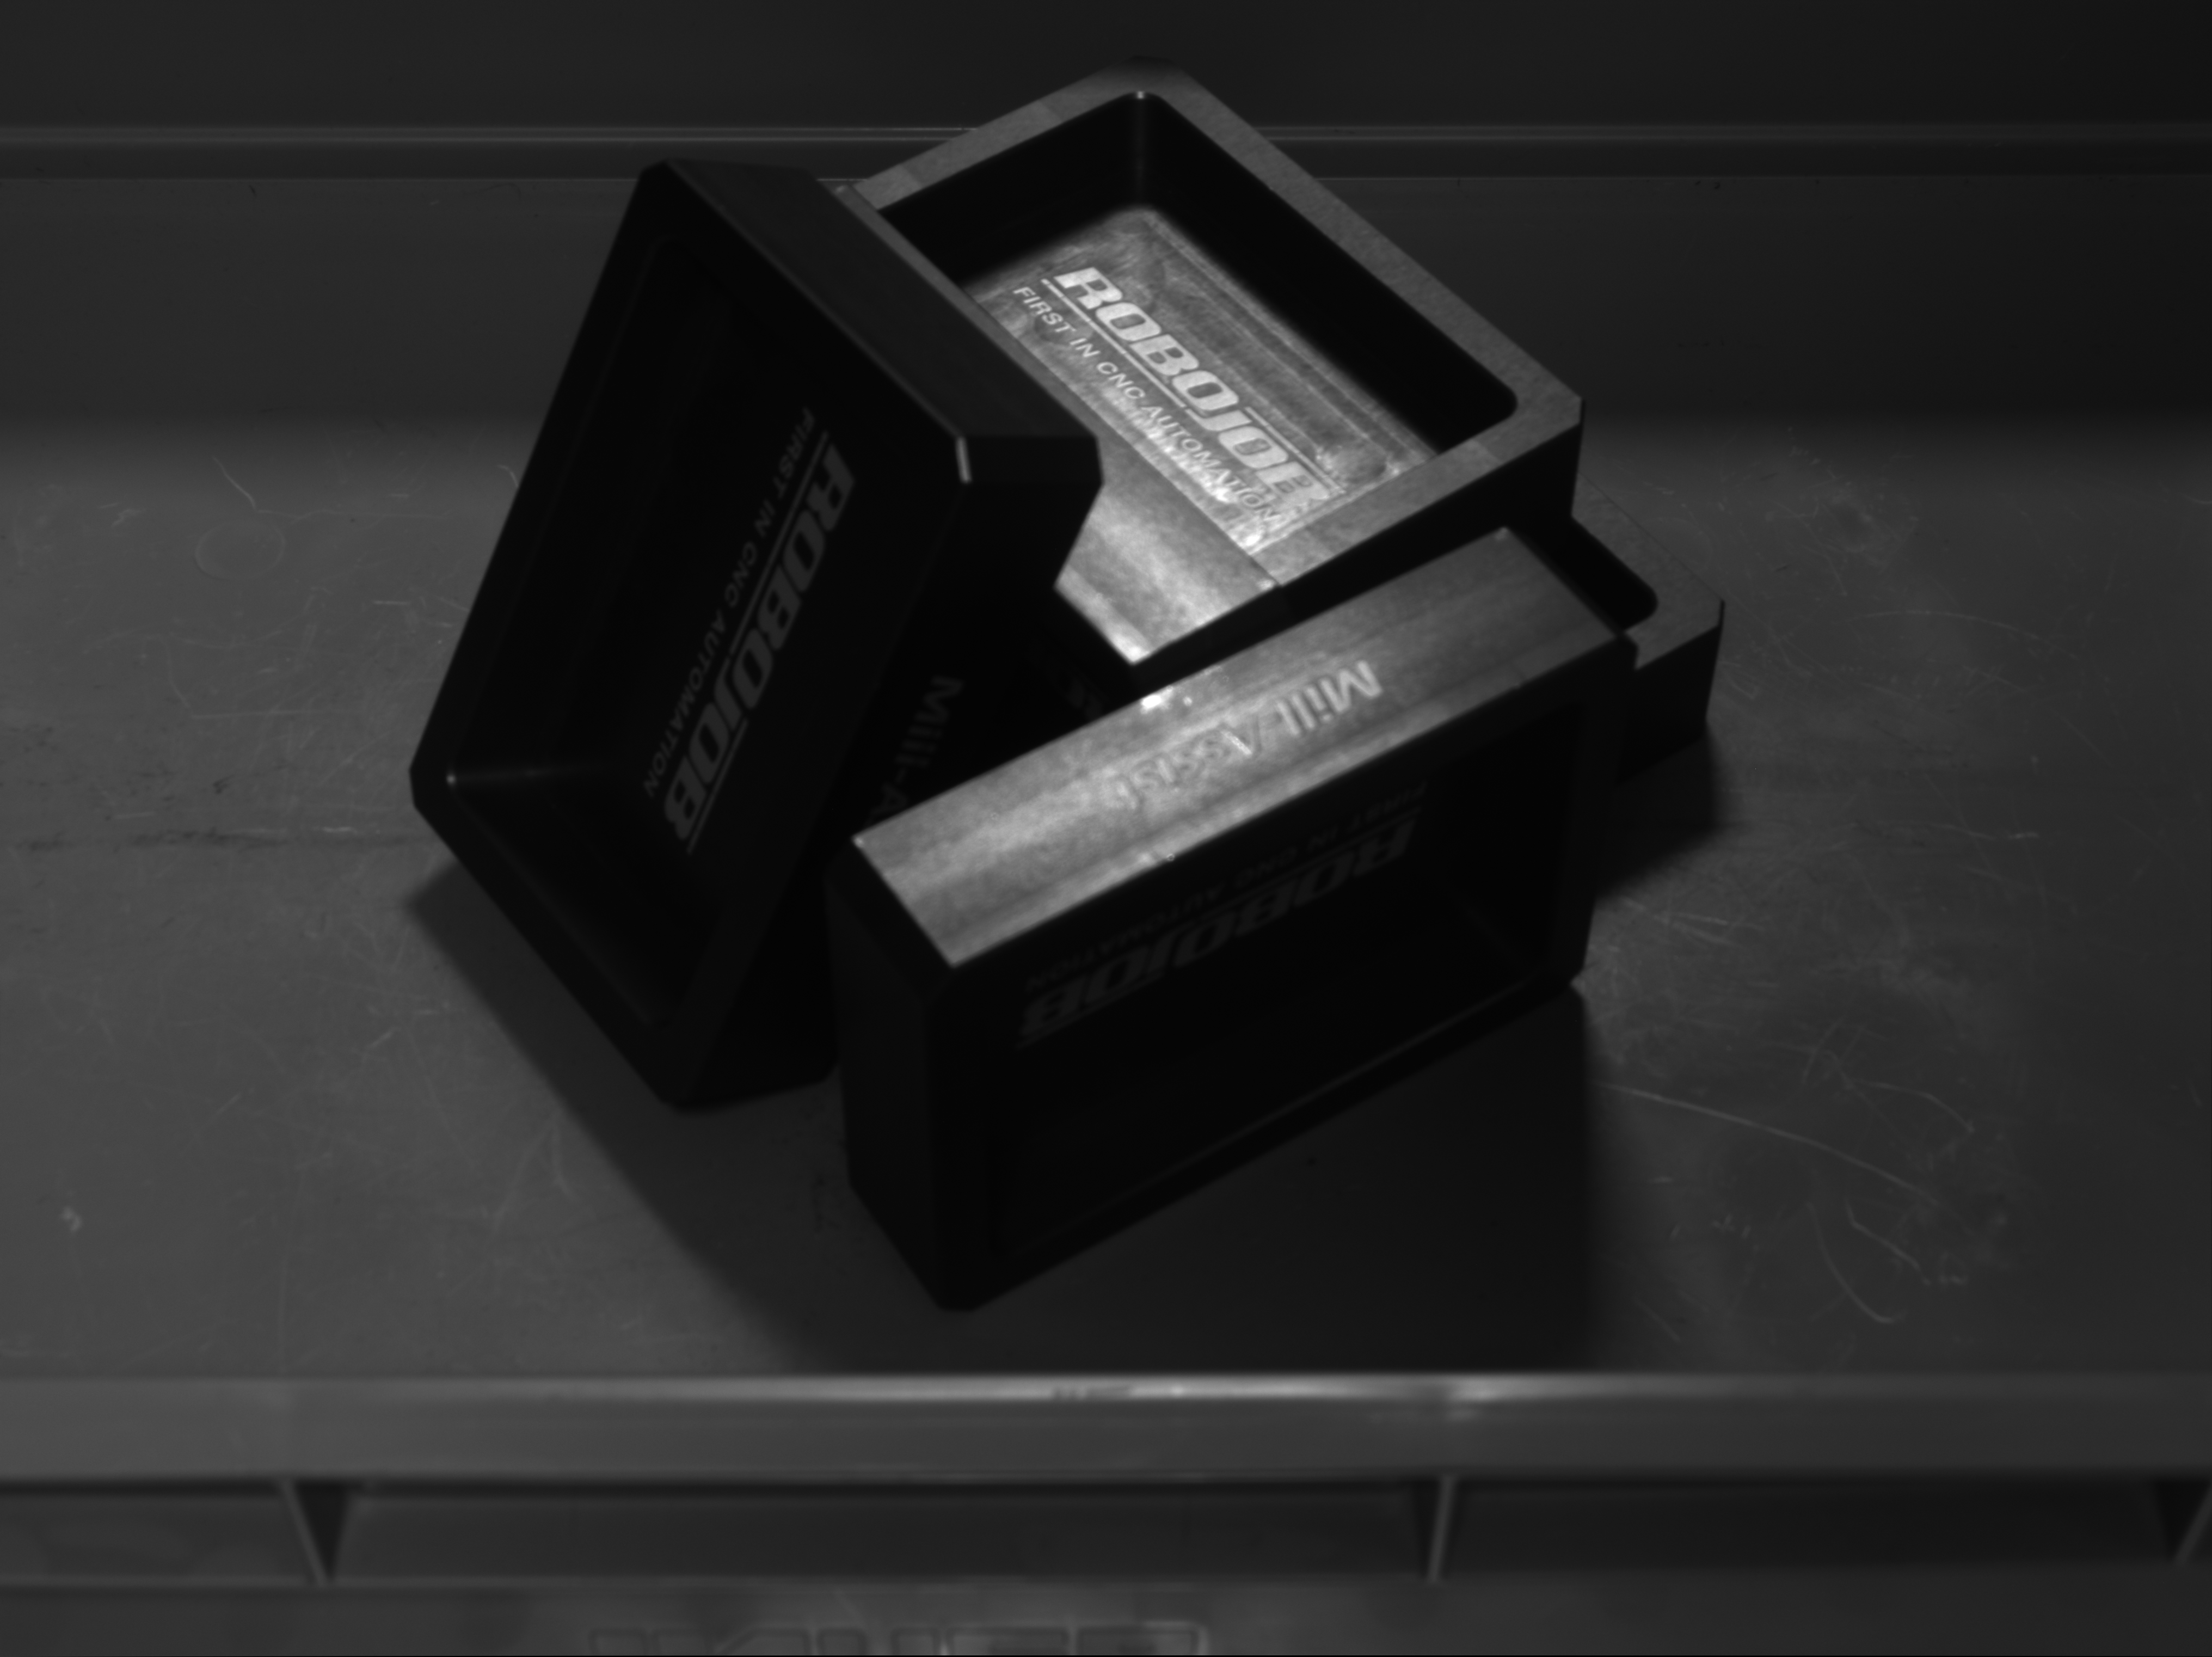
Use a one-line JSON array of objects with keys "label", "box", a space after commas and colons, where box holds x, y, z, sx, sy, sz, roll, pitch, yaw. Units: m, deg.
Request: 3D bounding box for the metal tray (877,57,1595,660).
[{"label": "metal tray", "box": [0.014, -0.082, 0.667, 0.090, 0.030, 0.130, -29, 55, -22]}]

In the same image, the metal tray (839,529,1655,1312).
[{"label": "metal tray", "box": [0.023, 0.015, 0.585, 0.130, 0.090, 0.030, -26, 54, -20]}]

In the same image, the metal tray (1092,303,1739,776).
[{"label": "metal tray", "box": [0.043, -0.049, 0.680, 0.090, 0.030, 0.130, -28, 54, -20]}]

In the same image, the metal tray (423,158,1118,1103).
[{"label": "metal tray", "box": [-0.059, -0.032, 0.600, 0.030, 0.130, 0.090, -6, 42, -46]}]

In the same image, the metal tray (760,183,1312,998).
[{"label": "metal tray", "box": [-0.018, -0.039, 0.630, 0.030, 0.090, 0.130, -30, 56, -23]}]
